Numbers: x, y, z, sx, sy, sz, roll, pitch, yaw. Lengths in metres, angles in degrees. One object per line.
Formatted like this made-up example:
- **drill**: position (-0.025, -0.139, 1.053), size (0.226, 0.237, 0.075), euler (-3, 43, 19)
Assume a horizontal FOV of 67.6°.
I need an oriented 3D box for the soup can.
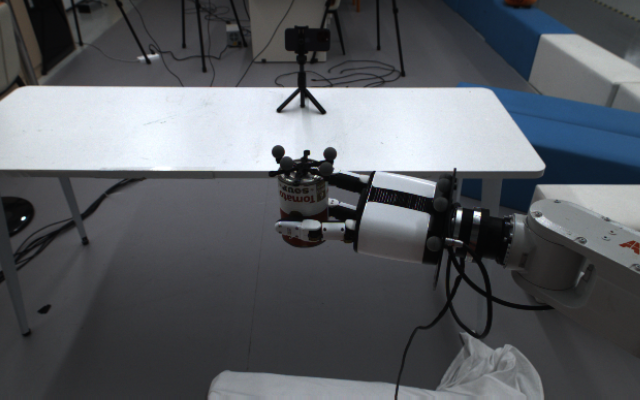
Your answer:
- **soup can**: position (-0.020, 0.003, 0.653), size (0.067, 0.101, 0.067), euler (-2, 34, 1)
